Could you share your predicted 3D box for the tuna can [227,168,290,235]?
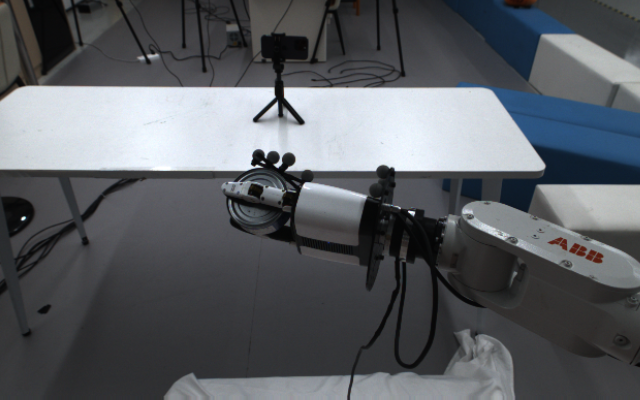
[{"bbox_3d":[-0.078,0.000,0.647,0.085,0.034,0.085,-4,67,10],"label":"tuna can"}]
